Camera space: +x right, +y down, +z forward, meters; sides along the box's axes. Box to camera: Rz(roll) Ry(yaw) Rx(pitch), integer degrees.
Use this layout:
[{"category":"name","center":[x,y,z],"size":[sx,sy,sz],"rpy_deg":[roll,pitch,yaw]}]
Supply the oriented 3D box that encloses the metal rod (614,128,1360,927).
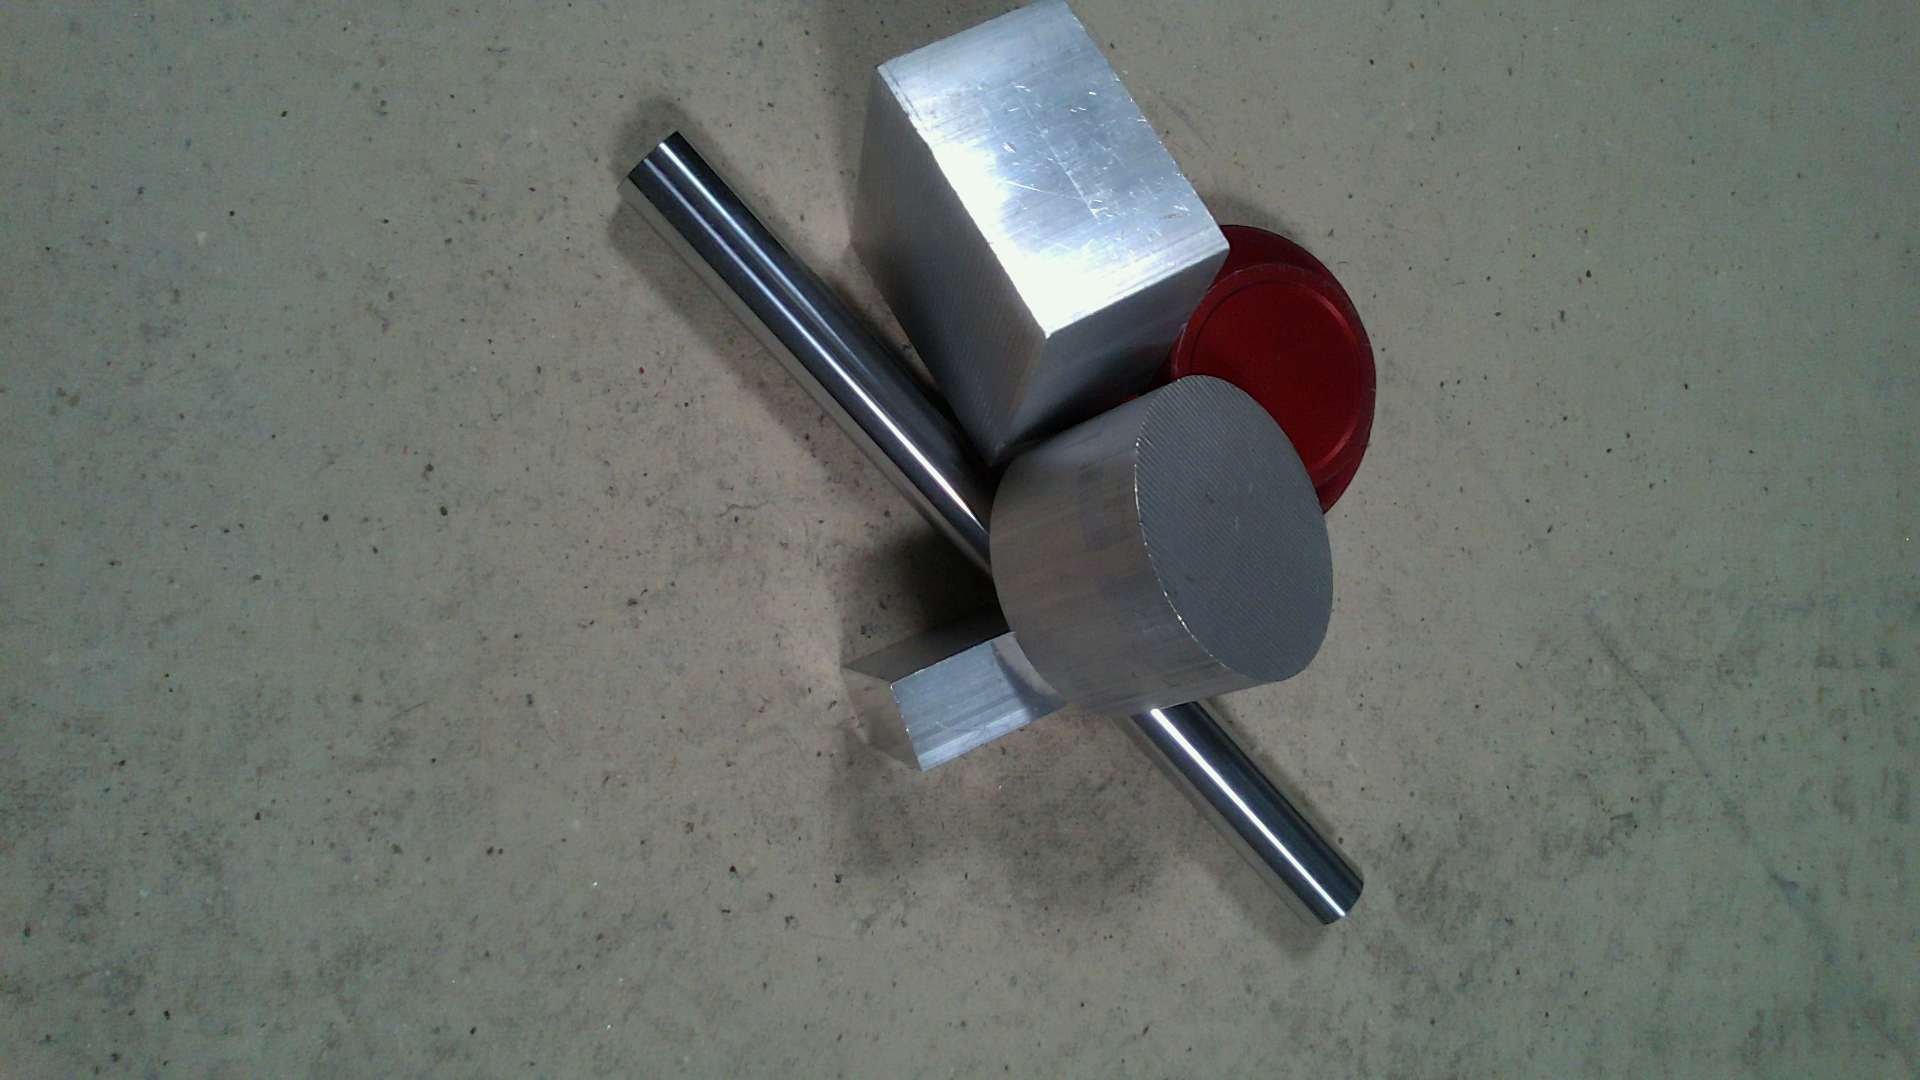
[{"category":"metal rod","center":[0.017,0.006,0.400],"size":[0.025,0.025,0.300],"rpy_deg":[-47,104,-14]}]

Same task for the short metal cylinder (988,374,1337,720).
[{"category":"short metal cylinder","center":[0.054,0.003,0.360],"size":[0.080,0.050,0.080],"rpy_deg":[18,63,-38]}]

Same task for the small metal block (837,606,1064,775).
[{"category":"small metal block","center":[-0.001,0.039,0.381],"size":[0.050,0.050,0.025],"rpy_deg":[-23,97,-19]}]

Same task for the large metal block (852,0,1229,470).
[{"category":"large metal block","center":[0.016,-0.077,0.359],"size":[0.050,0.080,0.080],"rpy_deg":[-28,77,-16]}]

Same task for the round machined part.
[{"category":"round machined part","center":[0.085,-0.046,0.415],"size":[0.098,0.042,0.098],"rpy_deg":[0,90,-20]}]
